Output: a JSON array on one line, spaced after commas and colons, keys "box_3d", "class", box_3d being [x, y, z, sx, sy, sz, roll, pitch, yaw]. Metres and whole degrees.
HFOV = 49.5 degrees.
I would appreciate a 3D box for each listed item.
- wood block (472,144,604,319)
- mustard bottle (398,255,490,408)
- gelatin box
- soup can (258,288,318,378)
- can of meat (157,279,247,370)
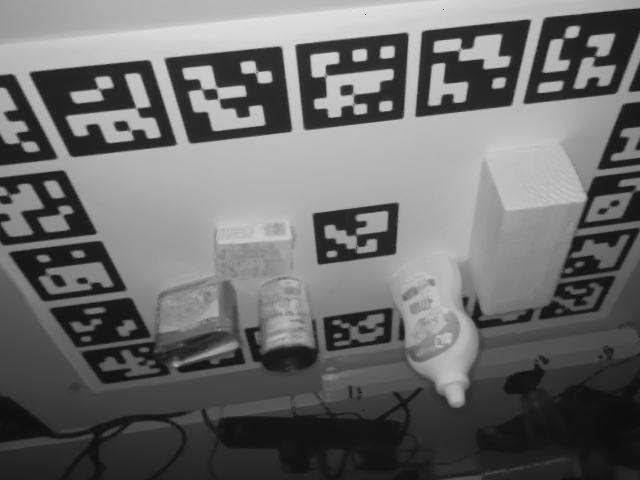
[{"box_3d": [0.242, -0.003, 0.798, 0.091, 0.090, 0.204, -5, 142, -2], "class": "wood block"}, {"box_3d": [0.156, 0.112, 0.838, 0.095, 0.192, 0.058, -23, 137, 17], "class": "mustard bottle"}, {"box_3d": [-0.072, 0.013, 0.791, 0.090, 0.030, 0.072, -2, 136, -13], "class": "gelatin box"}, {"box_3d": [-0.041, 0.117, 0.852, 0.068, 0.102, 0.067, -6, 136, -5], "class": "soup can"}, {"box_3d": [-0.141, 0.101, 0.841, 0.101, 0.084, 0.057, -15, 137, 9], "class": "can of meat"}]
